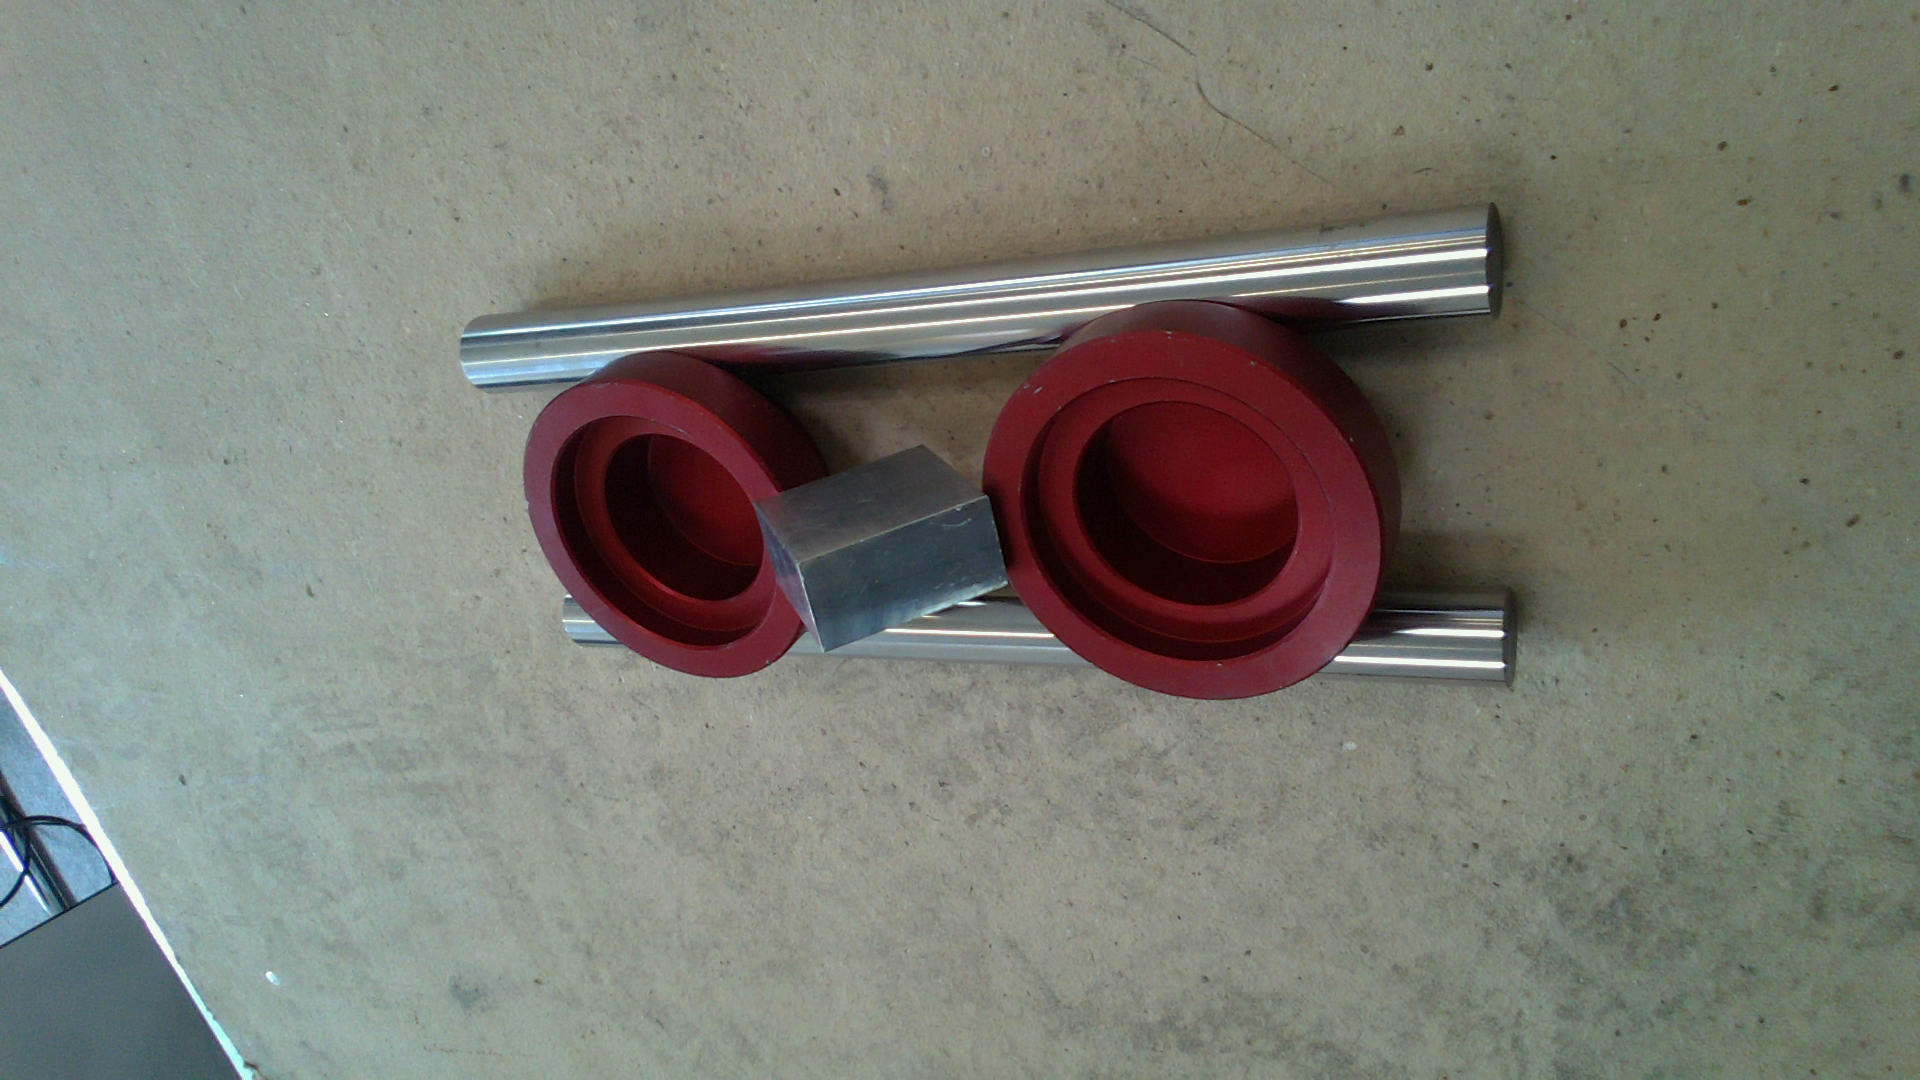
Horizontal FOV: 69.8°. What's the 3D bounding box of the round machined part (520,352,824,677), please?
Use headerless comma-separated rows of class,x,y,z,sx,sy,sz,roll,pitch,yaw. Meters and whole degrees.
round machined part,-0.079,-0.011,0.412,0.098,0.042,0.098,13,124,21

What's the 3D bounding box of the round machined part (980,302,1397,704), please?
round machined part,0.057,-0.012,0.337,0.098,0.042,0.098,13,124,21

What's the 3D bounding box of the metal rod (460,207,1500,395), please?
metal rod,-0.017,-0.058,0.366,0.299,0.025,0.025,0,118,28

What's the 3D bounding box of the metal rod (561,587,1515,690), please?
metal rod,0.002,0.024,0.406,0.299,0.025,0.025,0,118,28

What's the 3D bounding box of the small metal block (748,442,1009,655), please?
small metal block,-0.022,0.000,0.355,0.050,0.050,0.025,-138,31,-62
